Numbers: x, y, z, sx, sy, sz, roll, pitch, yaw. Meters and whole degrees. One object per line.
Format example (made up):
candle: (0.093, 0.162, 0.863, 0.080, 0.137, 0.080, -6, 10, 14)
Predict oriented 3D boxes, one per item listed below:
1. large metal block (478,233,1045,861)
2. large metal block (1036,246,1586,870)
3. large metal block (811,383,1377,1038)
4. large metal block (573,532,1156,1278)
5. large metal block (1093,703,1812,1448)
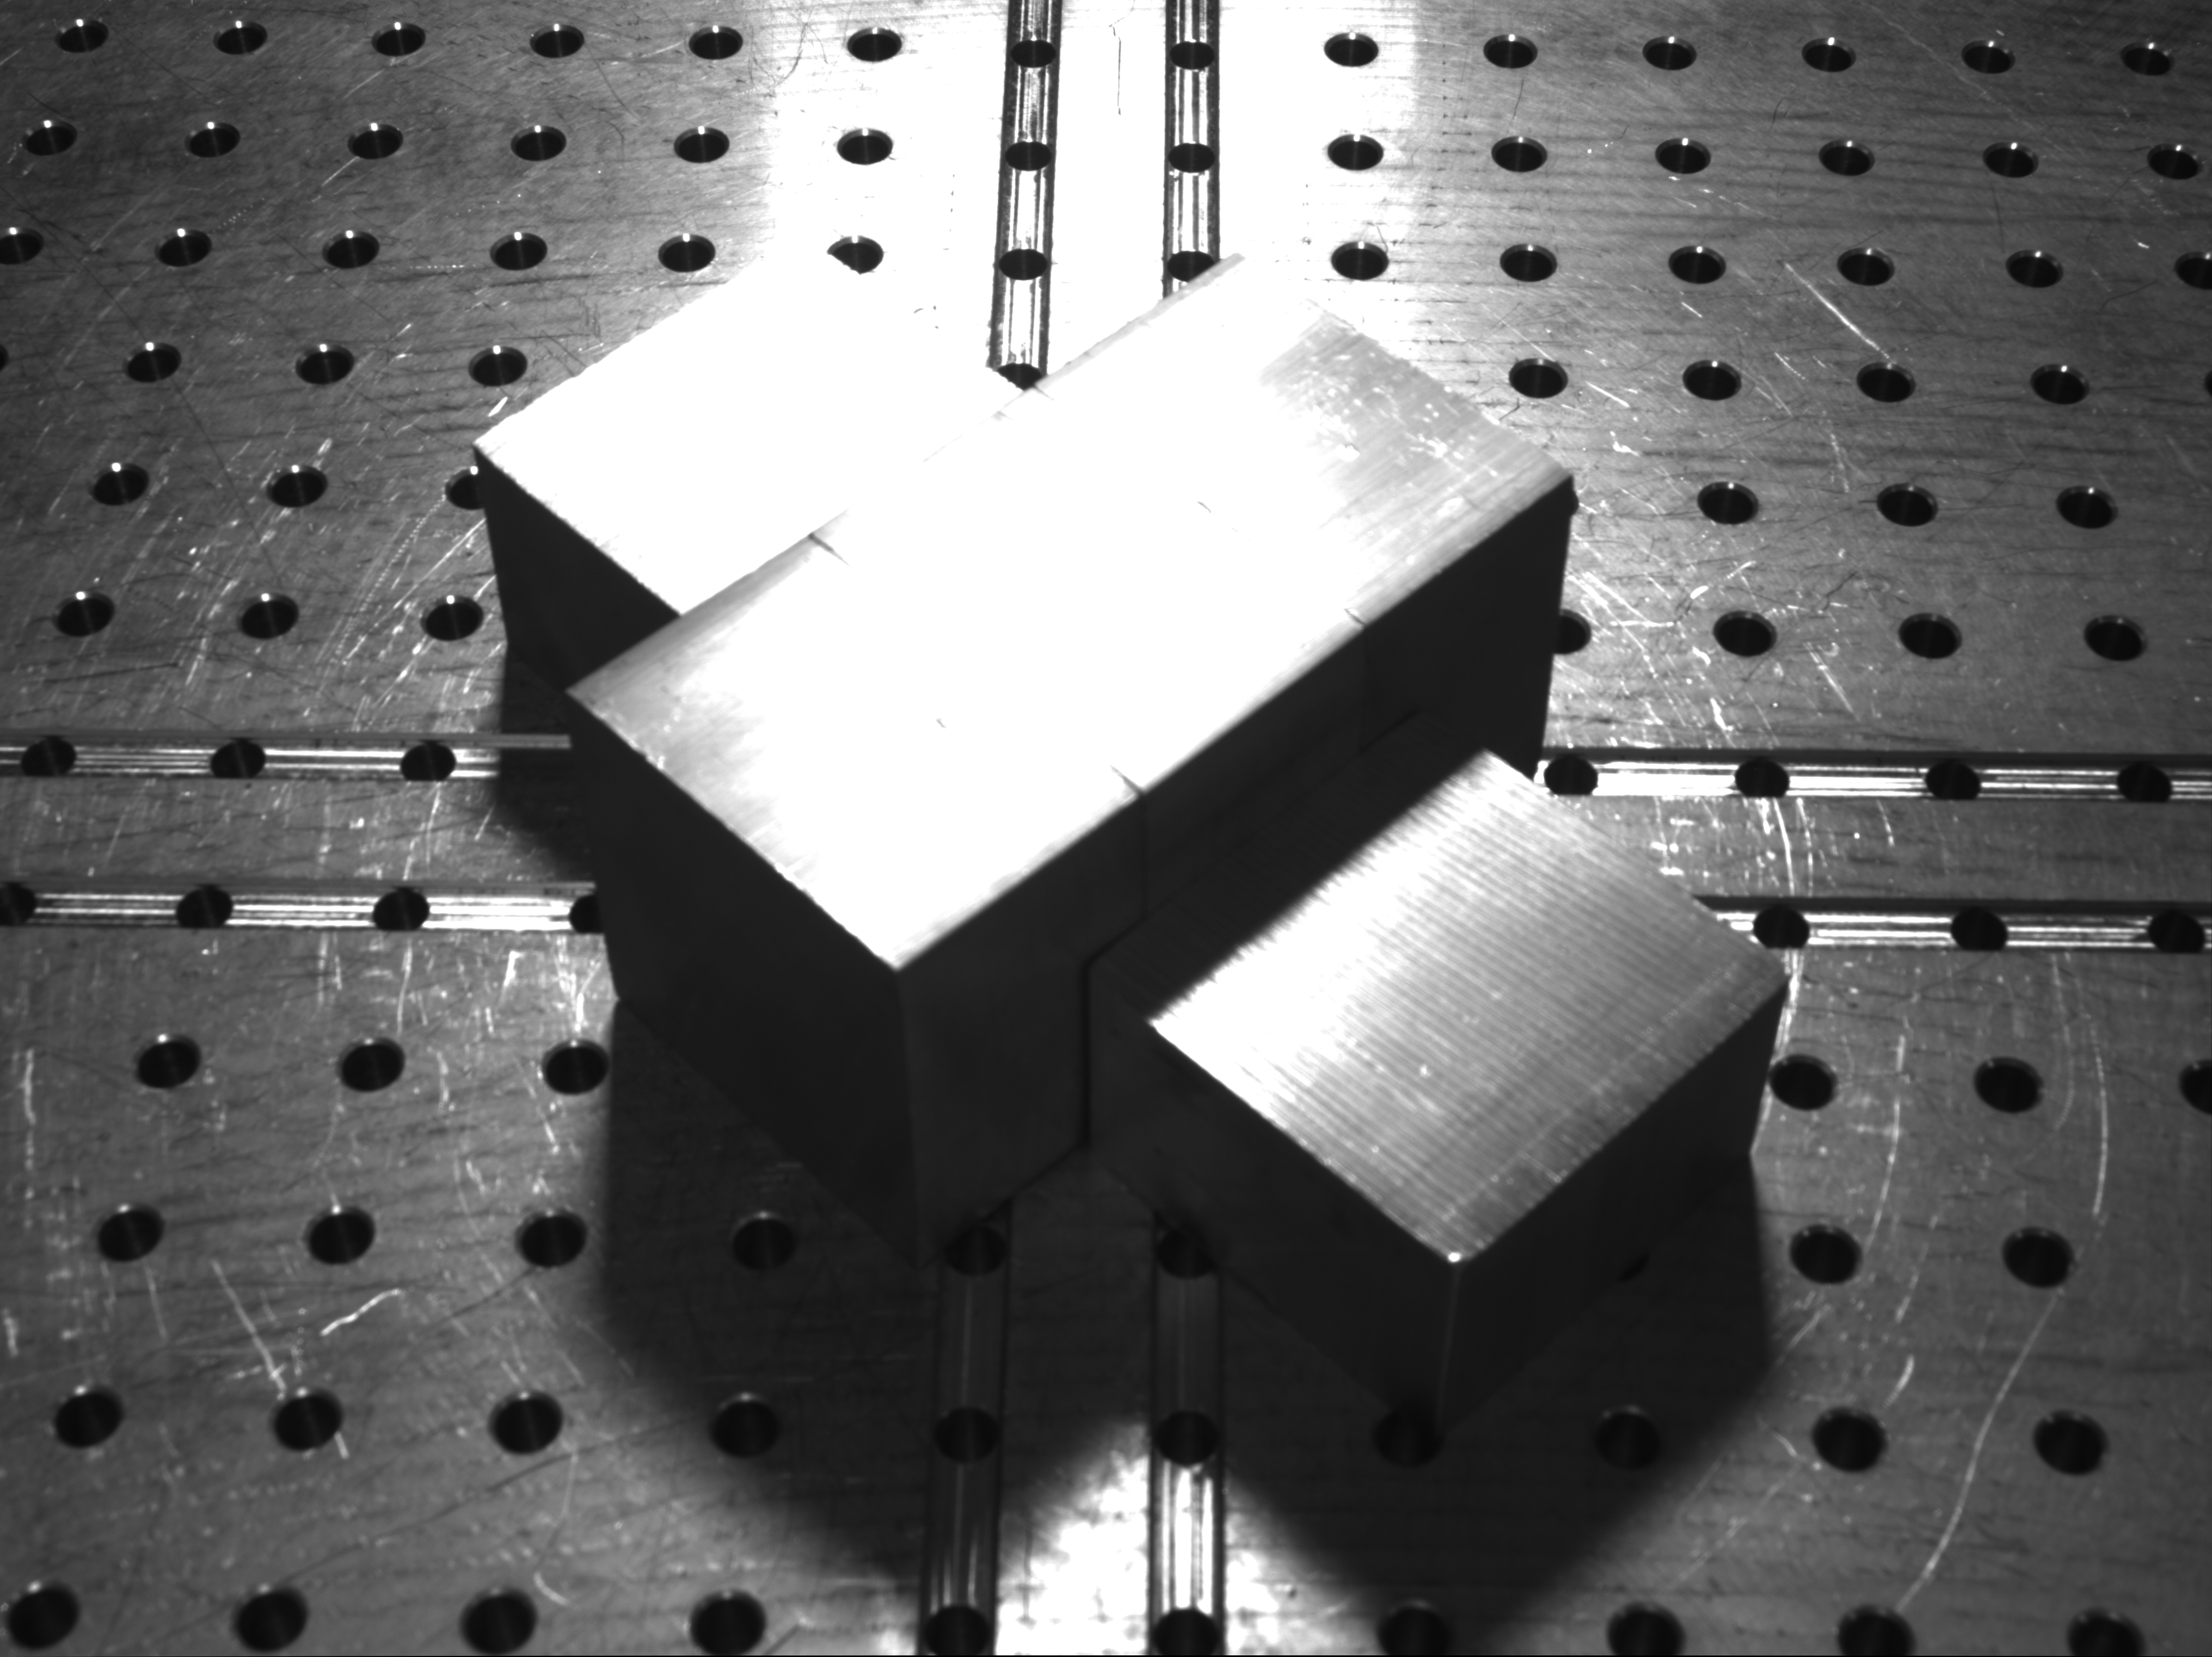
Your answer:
large metal block: (-0.055, -0.052, 0.669, 0.080, 0.050, 0.080, 37, 60, 27)
large metal block: (0.034, -0.041, 0.645, 0.050, 0.080, 0.080, -37, 59, -27)
large metal block: (-0.002, -0.014, 0.622, 0.050, 0.080, 0.080, -37, 59, -27)
large metal block: (-0.038, 0.013, 0.599, 0.050, 0.080, 0.080, -37, 59, -27)
large metal block: (0.055, 0.038, 0.596, 0.080, 0.050, 0.080, -37, 59, -26)
